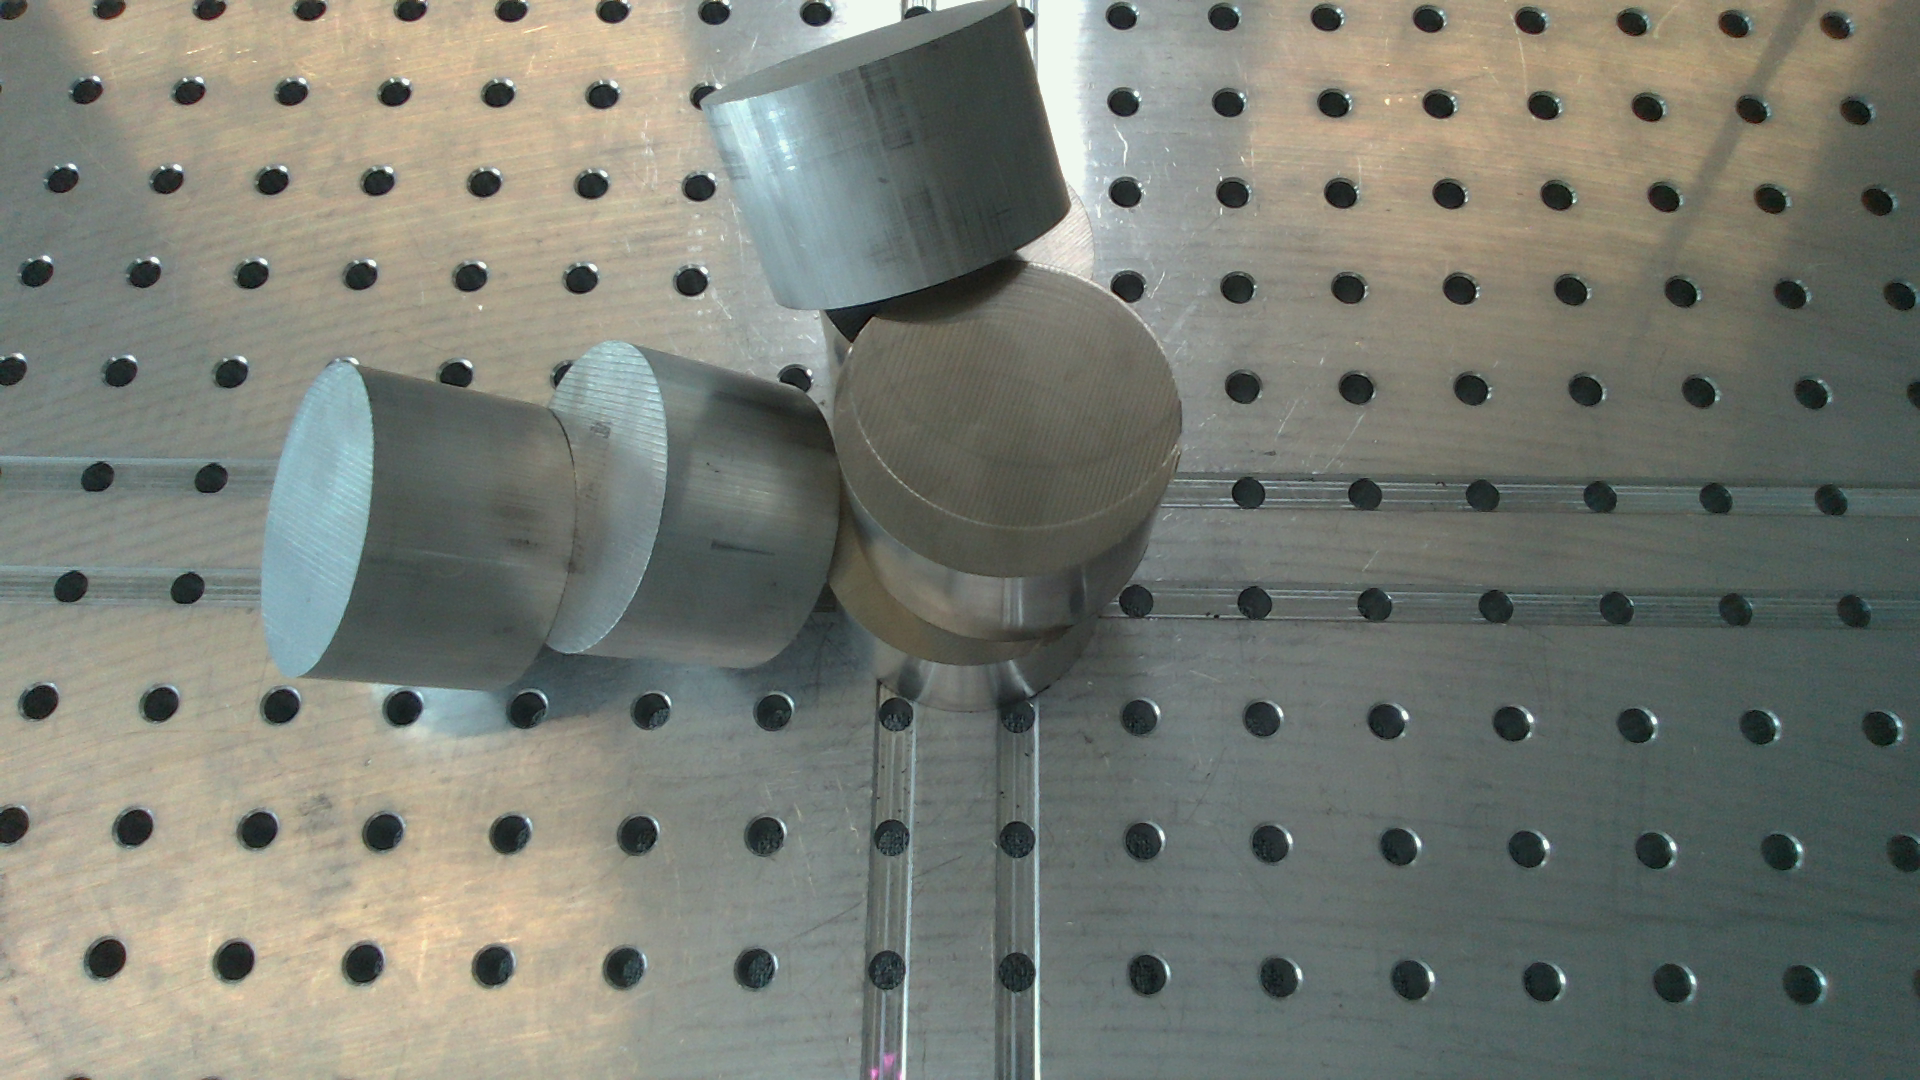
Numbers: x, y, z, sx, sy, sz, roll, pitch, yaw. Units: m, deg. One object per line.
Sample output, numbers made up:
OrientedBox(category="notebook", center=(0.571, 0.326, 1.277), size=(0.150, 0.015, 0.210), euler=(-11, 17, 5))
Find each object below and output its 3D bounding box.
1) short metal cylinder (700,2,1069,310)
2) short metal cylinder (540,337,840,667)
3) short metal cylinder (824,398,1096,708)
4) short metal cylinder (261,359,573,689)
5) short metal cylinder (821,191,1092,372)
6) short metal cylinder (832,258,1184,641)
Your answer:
OrientedBox(category="short metal cylinder", center=(-0.018, -0.097, 0.343), size=(0.080, 0.080, 0.050), euler=(-23, 115, -8))
OrientedBox(category="short metal cylinder", center=(-0.076, -0.008, 0.363), size=(0.050, 0.080, 0.080), euler=(11, 63, -41))
OrientedBox(category="short metal cylinder", center=(0.002, 0.003, 0.382), size=(0.080, 0.050, 0.080), euler=(0, 70, 0))
OrientedBox(category="short metal cylinder", center=(-0.144, -0.003, 0.361), size=(0.050, 0.080, 0.080), euler=(11, 63, -41))
OrientedBox(category="short metal cylinder", center=(-0.003, -0.073, 0.410), size=(0.080, 0.050, 0.080), euler=(0, 70, 0))
OrientedBox(category="short metal cylinder", center=(0.011, -0.021, 0.336), size=(0.080, 0.050, 0.080), euler=(0, 70, 0))
